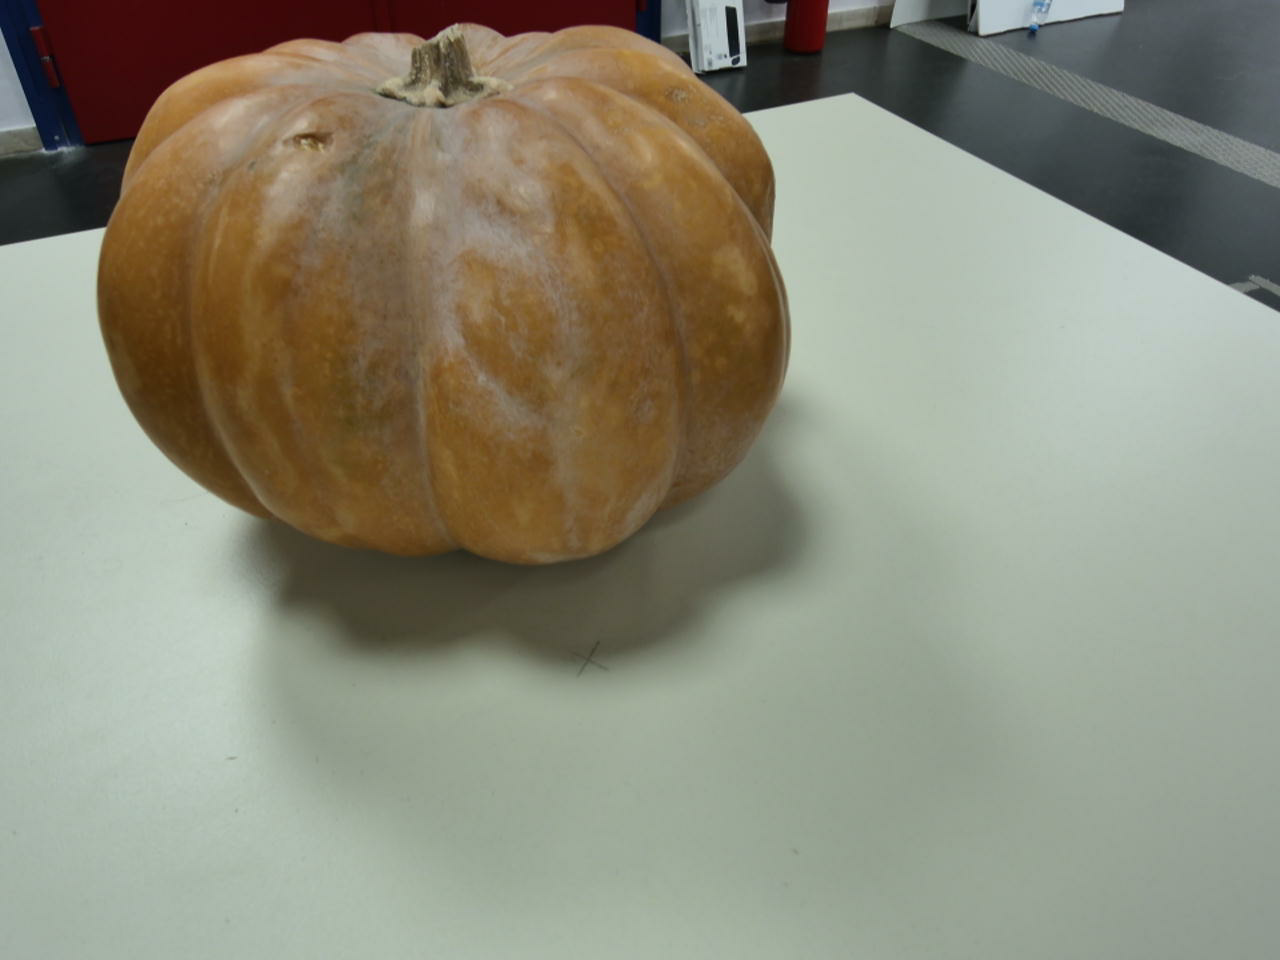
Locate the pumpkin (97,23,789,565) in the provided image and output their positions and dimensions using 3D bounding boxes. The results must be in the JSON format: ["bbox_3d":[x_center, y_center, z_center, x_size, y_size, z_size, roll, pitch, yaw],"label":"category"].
[{"bbox_3d":[-0.069,-0.081,0.398,0.277,0.181,0.277,0,38,0],"label":"pumpkin"}]
